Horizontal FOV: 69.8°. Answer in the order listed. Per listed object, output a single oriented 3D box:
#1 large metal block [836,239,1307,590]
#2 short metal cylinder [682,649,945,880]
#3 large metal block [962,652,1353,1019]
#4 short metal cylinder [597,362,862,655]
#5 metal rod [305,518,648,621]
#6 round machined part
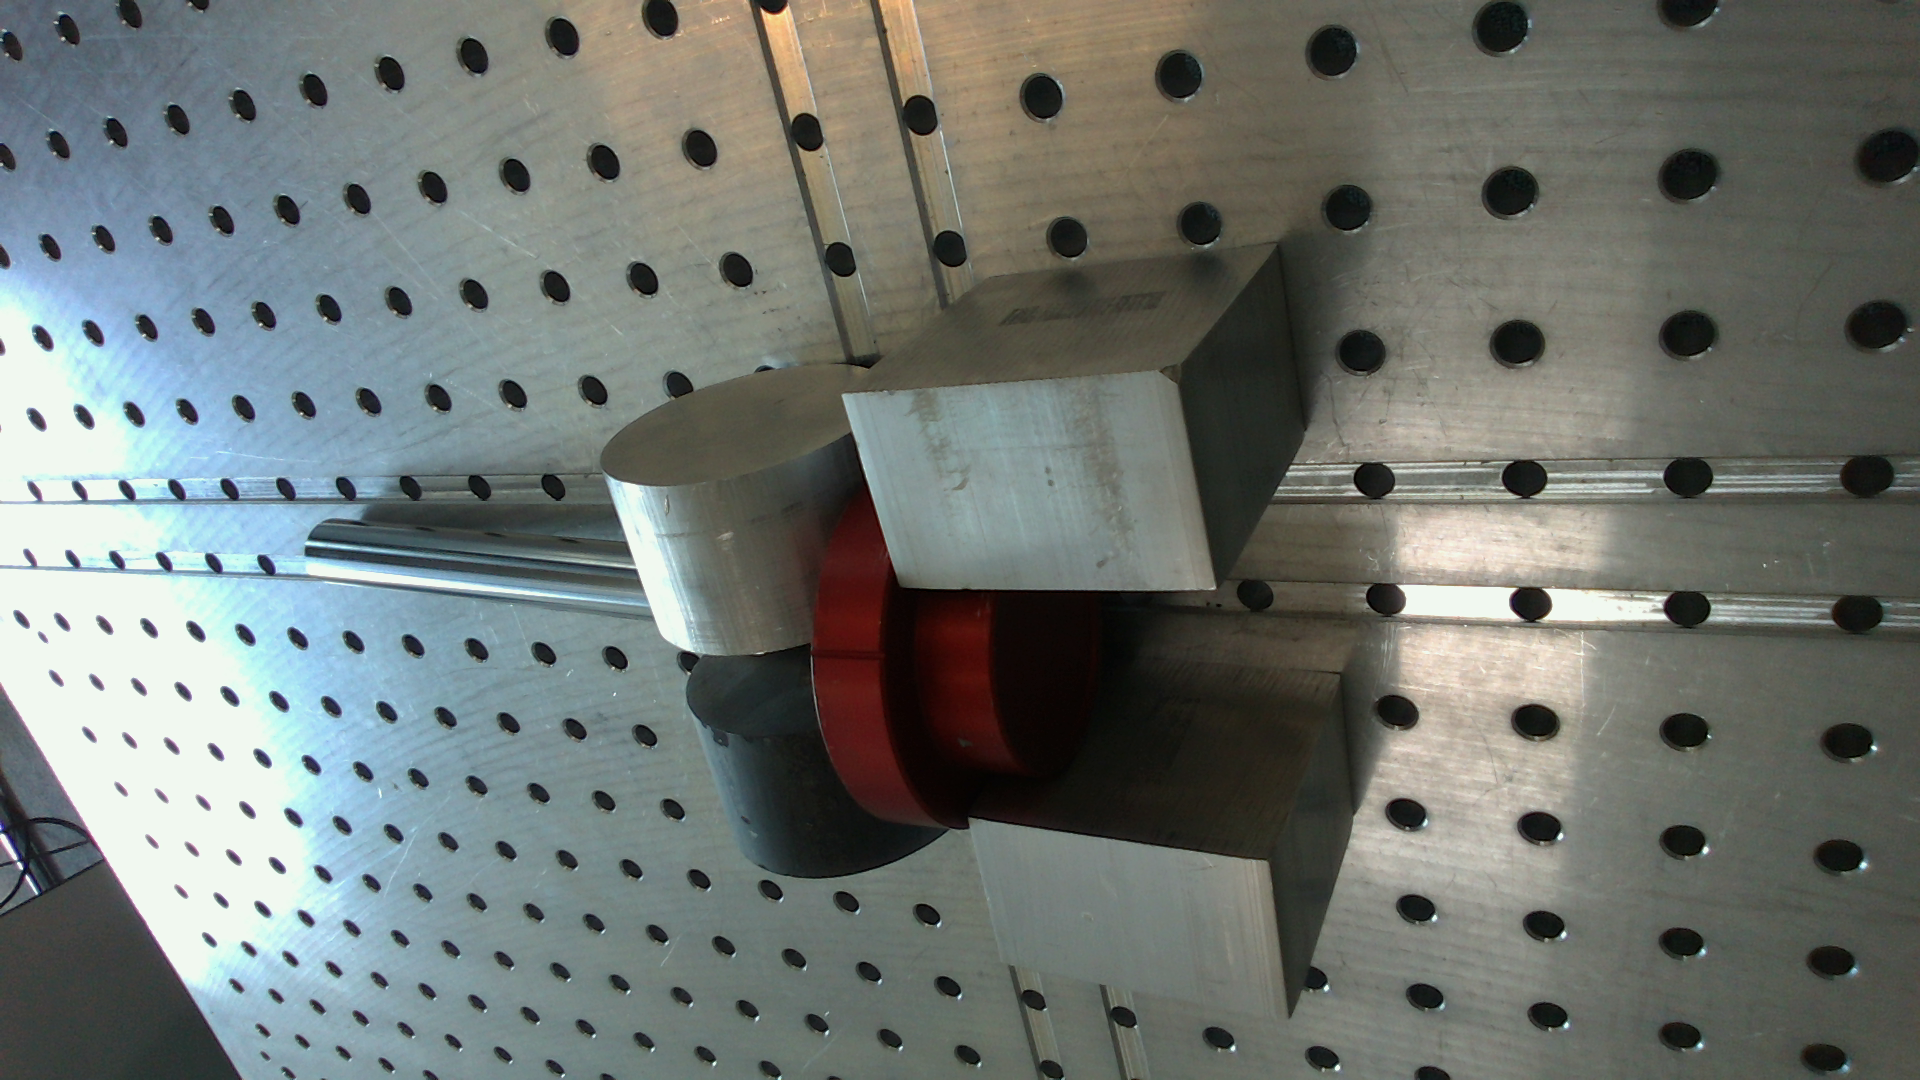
[{"bbox_3d":[0.030,-0.030,0.326,0.080,0.080,0.050,0,118,28],"label":"large metal block"},{"bbox_3d":[-0.037,0.056,0.414,0.080,0.080,0.050,1,120,28],"label":"short metal cylinder"},{"bbox_3d":[0.058,0.076,0.377,0.080,0.080,0.050,3,120,27],"label":"large metal block"},{"bbox_3d":[-0.053,-0.011,0.382,0.080,0.080,0.050,1,119,28],"label":"short metal cylinder"},{"bbox_3d":[-0.111,0.013,0.448,0.299,0.025,0.025,4,120,31],"label":"metal rod"},{"bbox_3d":[0.006,0.027,0.362,0.042,0.098,0.098,1,119,28],"label":"round machined part"}]
